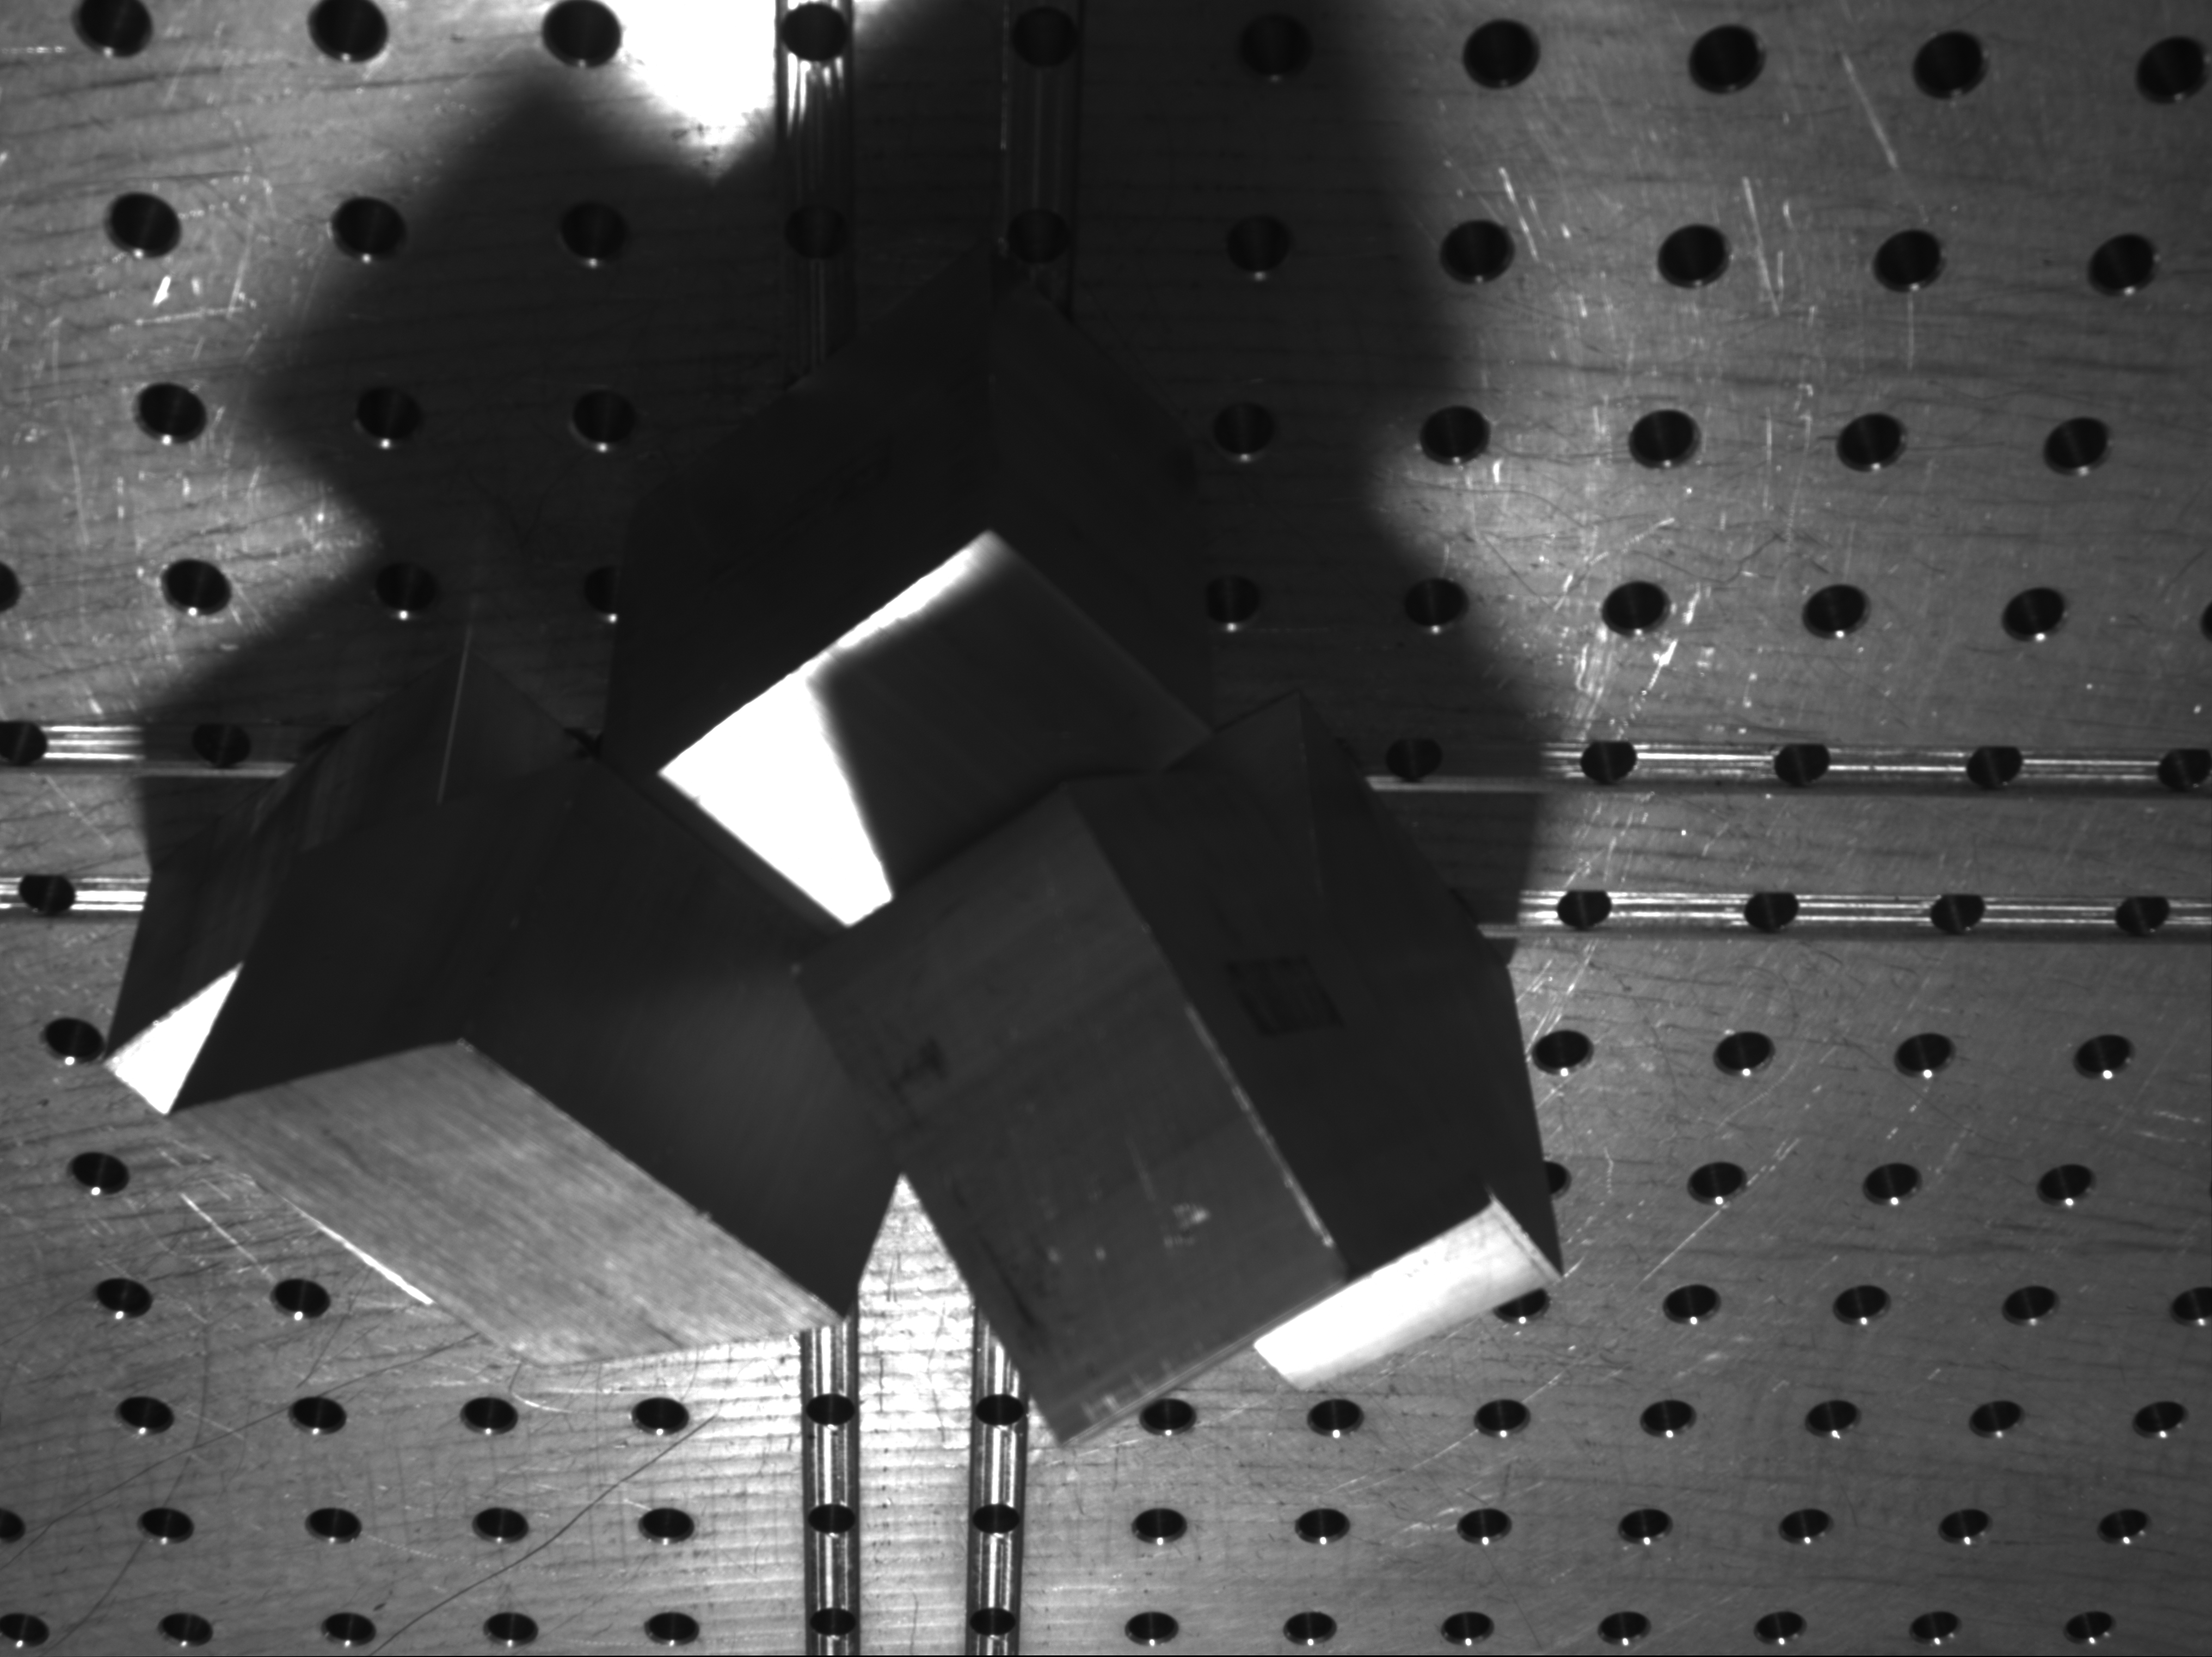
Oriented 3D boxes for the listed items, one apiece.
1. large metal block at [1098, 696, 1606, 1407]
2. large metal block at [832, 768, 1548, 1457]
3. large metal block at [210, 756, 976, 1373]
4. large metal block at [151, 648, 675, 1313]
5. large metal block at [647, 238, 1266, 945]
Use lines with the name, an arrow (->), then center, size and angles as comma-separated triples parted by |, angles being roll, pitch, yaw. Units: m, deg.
large metal block -> 0.041, 0.039, 0.637 | 0.050, 0.080, 0.080 | -27, 126, 19
large metal block -> 0.015, 0.039, 0.546 | 0.050, 0.080, 0.080 | -34, 81, 18
large metal block -> -0.077, 0.040, 0.570 | 0.080, 0.050, 0.080 | -15, 134, 44
large metal block -> -0.106, 0.028, 0.645 | 0.080, 0.050, 0.080 | -32, 124, 23
large metal block -> -0.024, -0.033, 0.575 | 0.080, 0.080, 0.050 | -34, 123, 24
